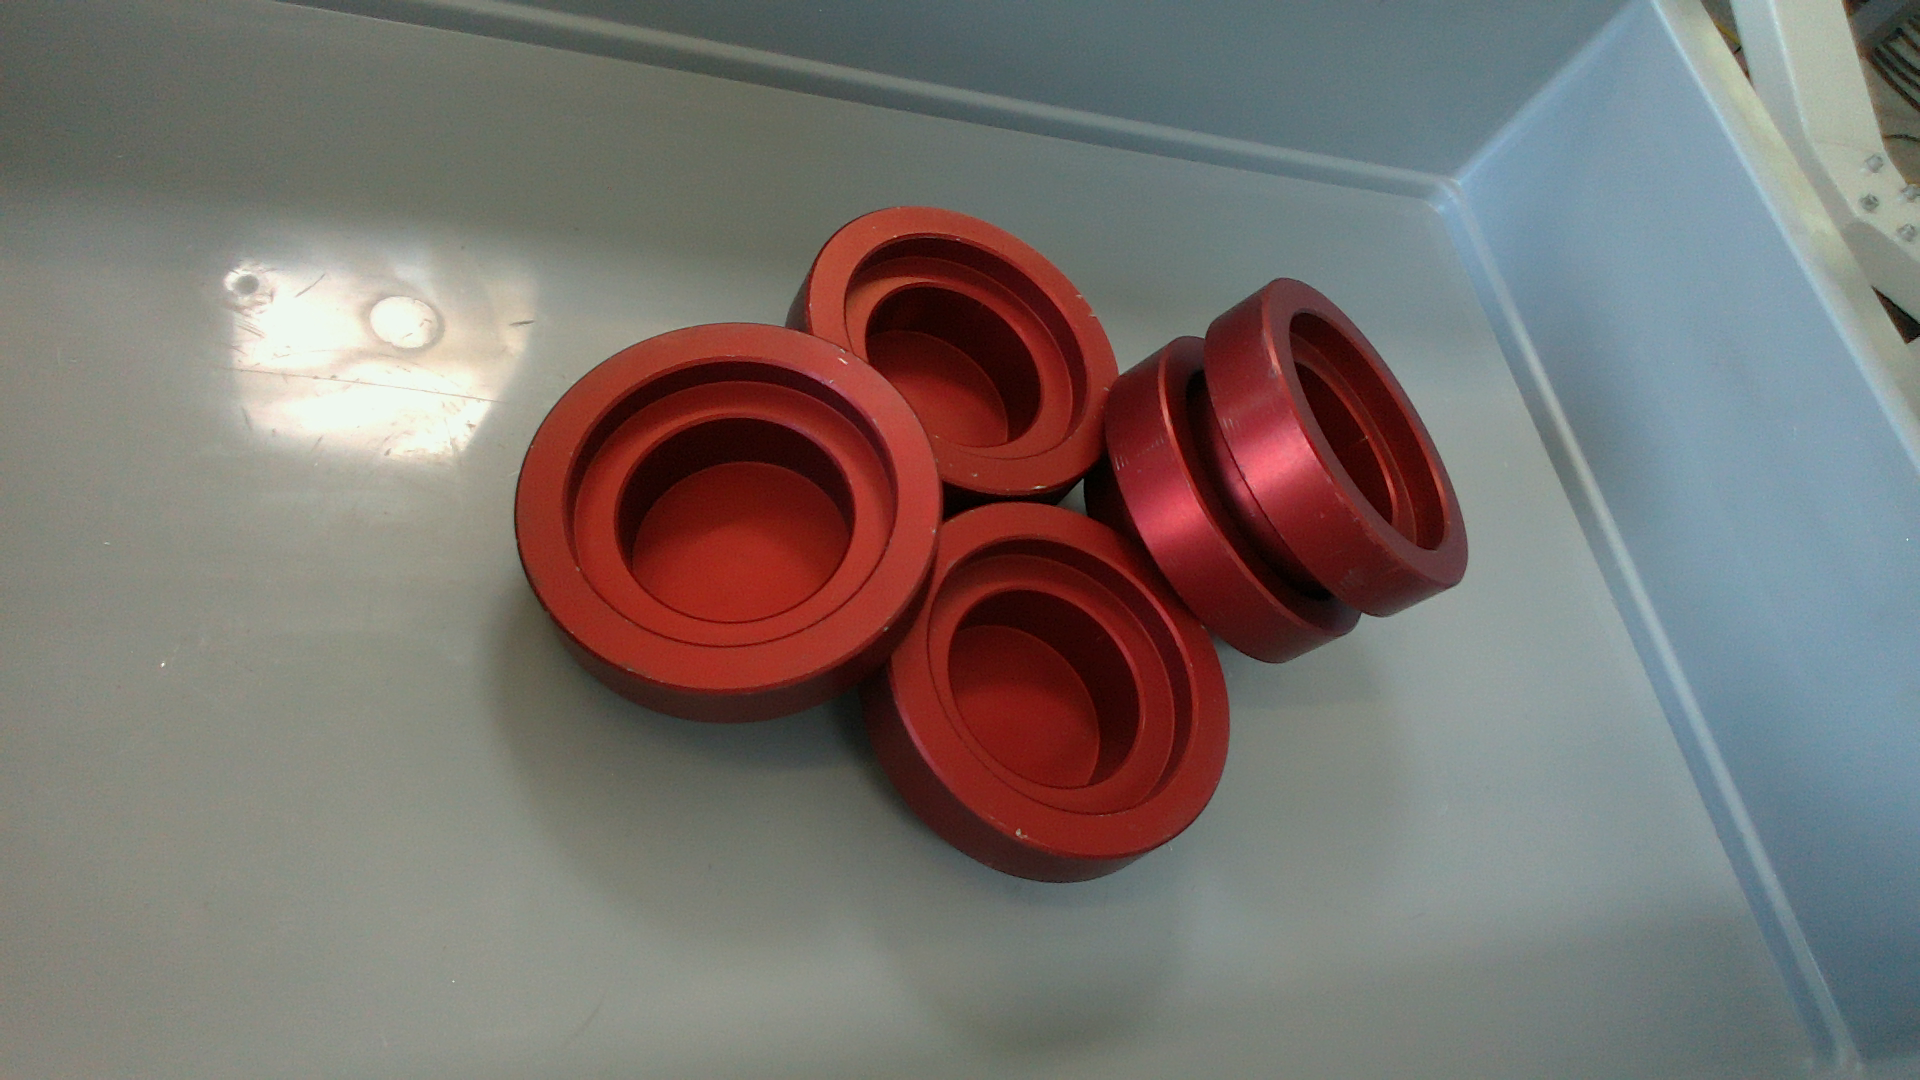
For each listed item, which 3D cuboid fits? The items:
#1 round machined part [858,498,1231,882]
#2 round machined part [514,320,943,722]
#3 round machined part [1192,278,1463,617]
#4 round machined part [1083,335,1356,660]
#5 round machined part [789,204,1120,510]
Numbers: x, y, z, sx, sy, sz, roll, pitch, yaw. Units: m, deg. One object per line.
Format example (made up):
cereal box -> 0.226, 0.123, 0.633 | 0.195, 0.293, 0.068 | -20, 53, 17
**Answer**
round machined part -> 0.018, 0.042, 0.361 | 0.098, 0.042, 0.098 | 14, 56, -21
round machined part -> -0.054, -0.002, 0.336 | 0.098, 0.042, 0.098 | 2, 63, -4
round machined part -> 0.099, -0.022, 0.394 | 0.098, 0.042, 0.098 | 33, 40, -33
round machined part -> 0.074, -0.008, 0.409 | 0.098, 0.042, 0.098 | 34, 40, -33
round machined part -> -0.005, -0.046, 0.402 | 0.098, 0.042, 0.098 | 14, 56, -21
